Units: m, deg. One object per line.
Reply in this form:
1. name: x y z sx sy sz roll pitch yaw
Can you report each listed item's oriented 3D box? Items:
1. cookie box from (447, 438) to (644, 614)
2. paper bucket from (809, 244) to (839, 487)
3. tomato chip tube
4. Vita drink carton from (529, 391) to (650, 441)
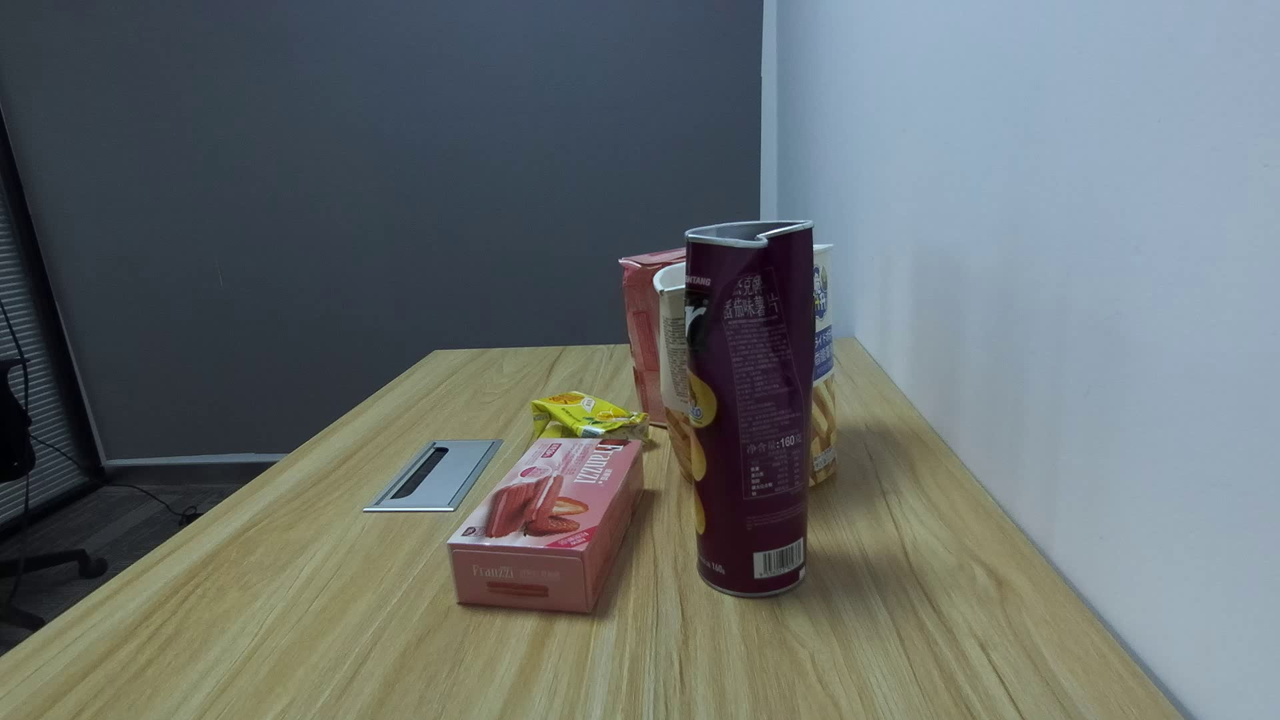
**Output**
1. cookie box: -0.061 0.115 0.539 0.096 0.048 0.184 -1 16 11
2. paper bucket: 0.102 0.006 0.628 0.147 0.199 0.218 -1 14 9
3. tomato chip tube: 0.074 0.032 0.460 0.077 0.235 0.076 2 17 15
4. Vita drink carton: -0.051 0.067 0.724 0.107 0.042 0.087 15 17 38
